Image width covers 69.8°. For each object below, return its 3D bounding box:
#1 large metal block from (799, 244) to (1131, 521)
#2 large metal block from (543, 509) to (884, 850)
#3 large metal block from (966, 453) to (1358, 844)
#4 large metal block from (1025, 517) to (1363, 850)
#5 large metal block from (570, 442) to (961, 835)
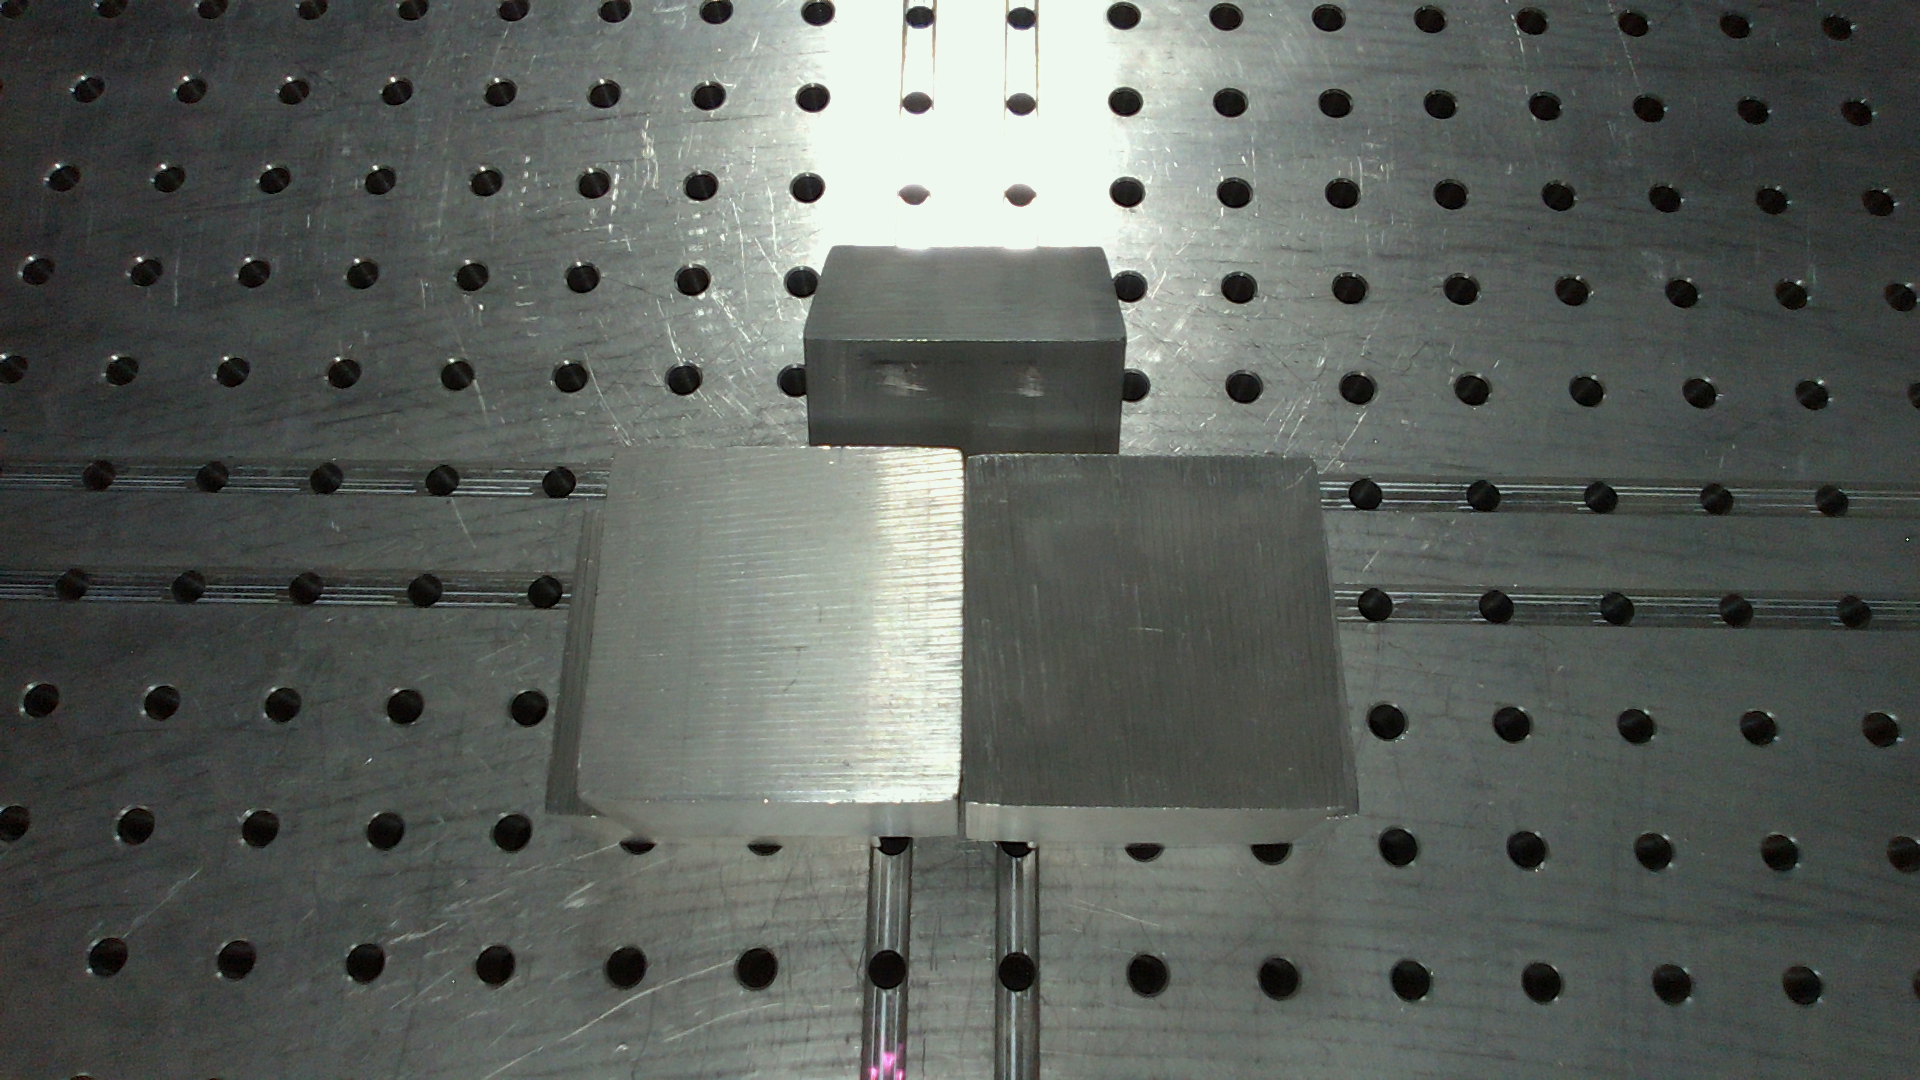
[{"bbox_3d":[0.001,-0.045,0.379,0.080,0.050,0.080,0,28,0],"label":"large metal block"},{"bbox_3d":[-0.060,0.039,0.370,0.080,0.050,0.080,1,70,0],"label":"large metal block"},{"bbox_3d":[0.042,0.027,0.319,0.080,0.050,0.080,0,70,0],"label":"large metal block"},{"bbox_3d":[0.057,0.038,0.369,0.080,0.050,0.080,-1,70,0],"label":"large metal block"},{"bbox_3d":[-0.040,0.024,0.319,0.080,0.050,0.080,0,70,0],"label":"large metal block"}]
